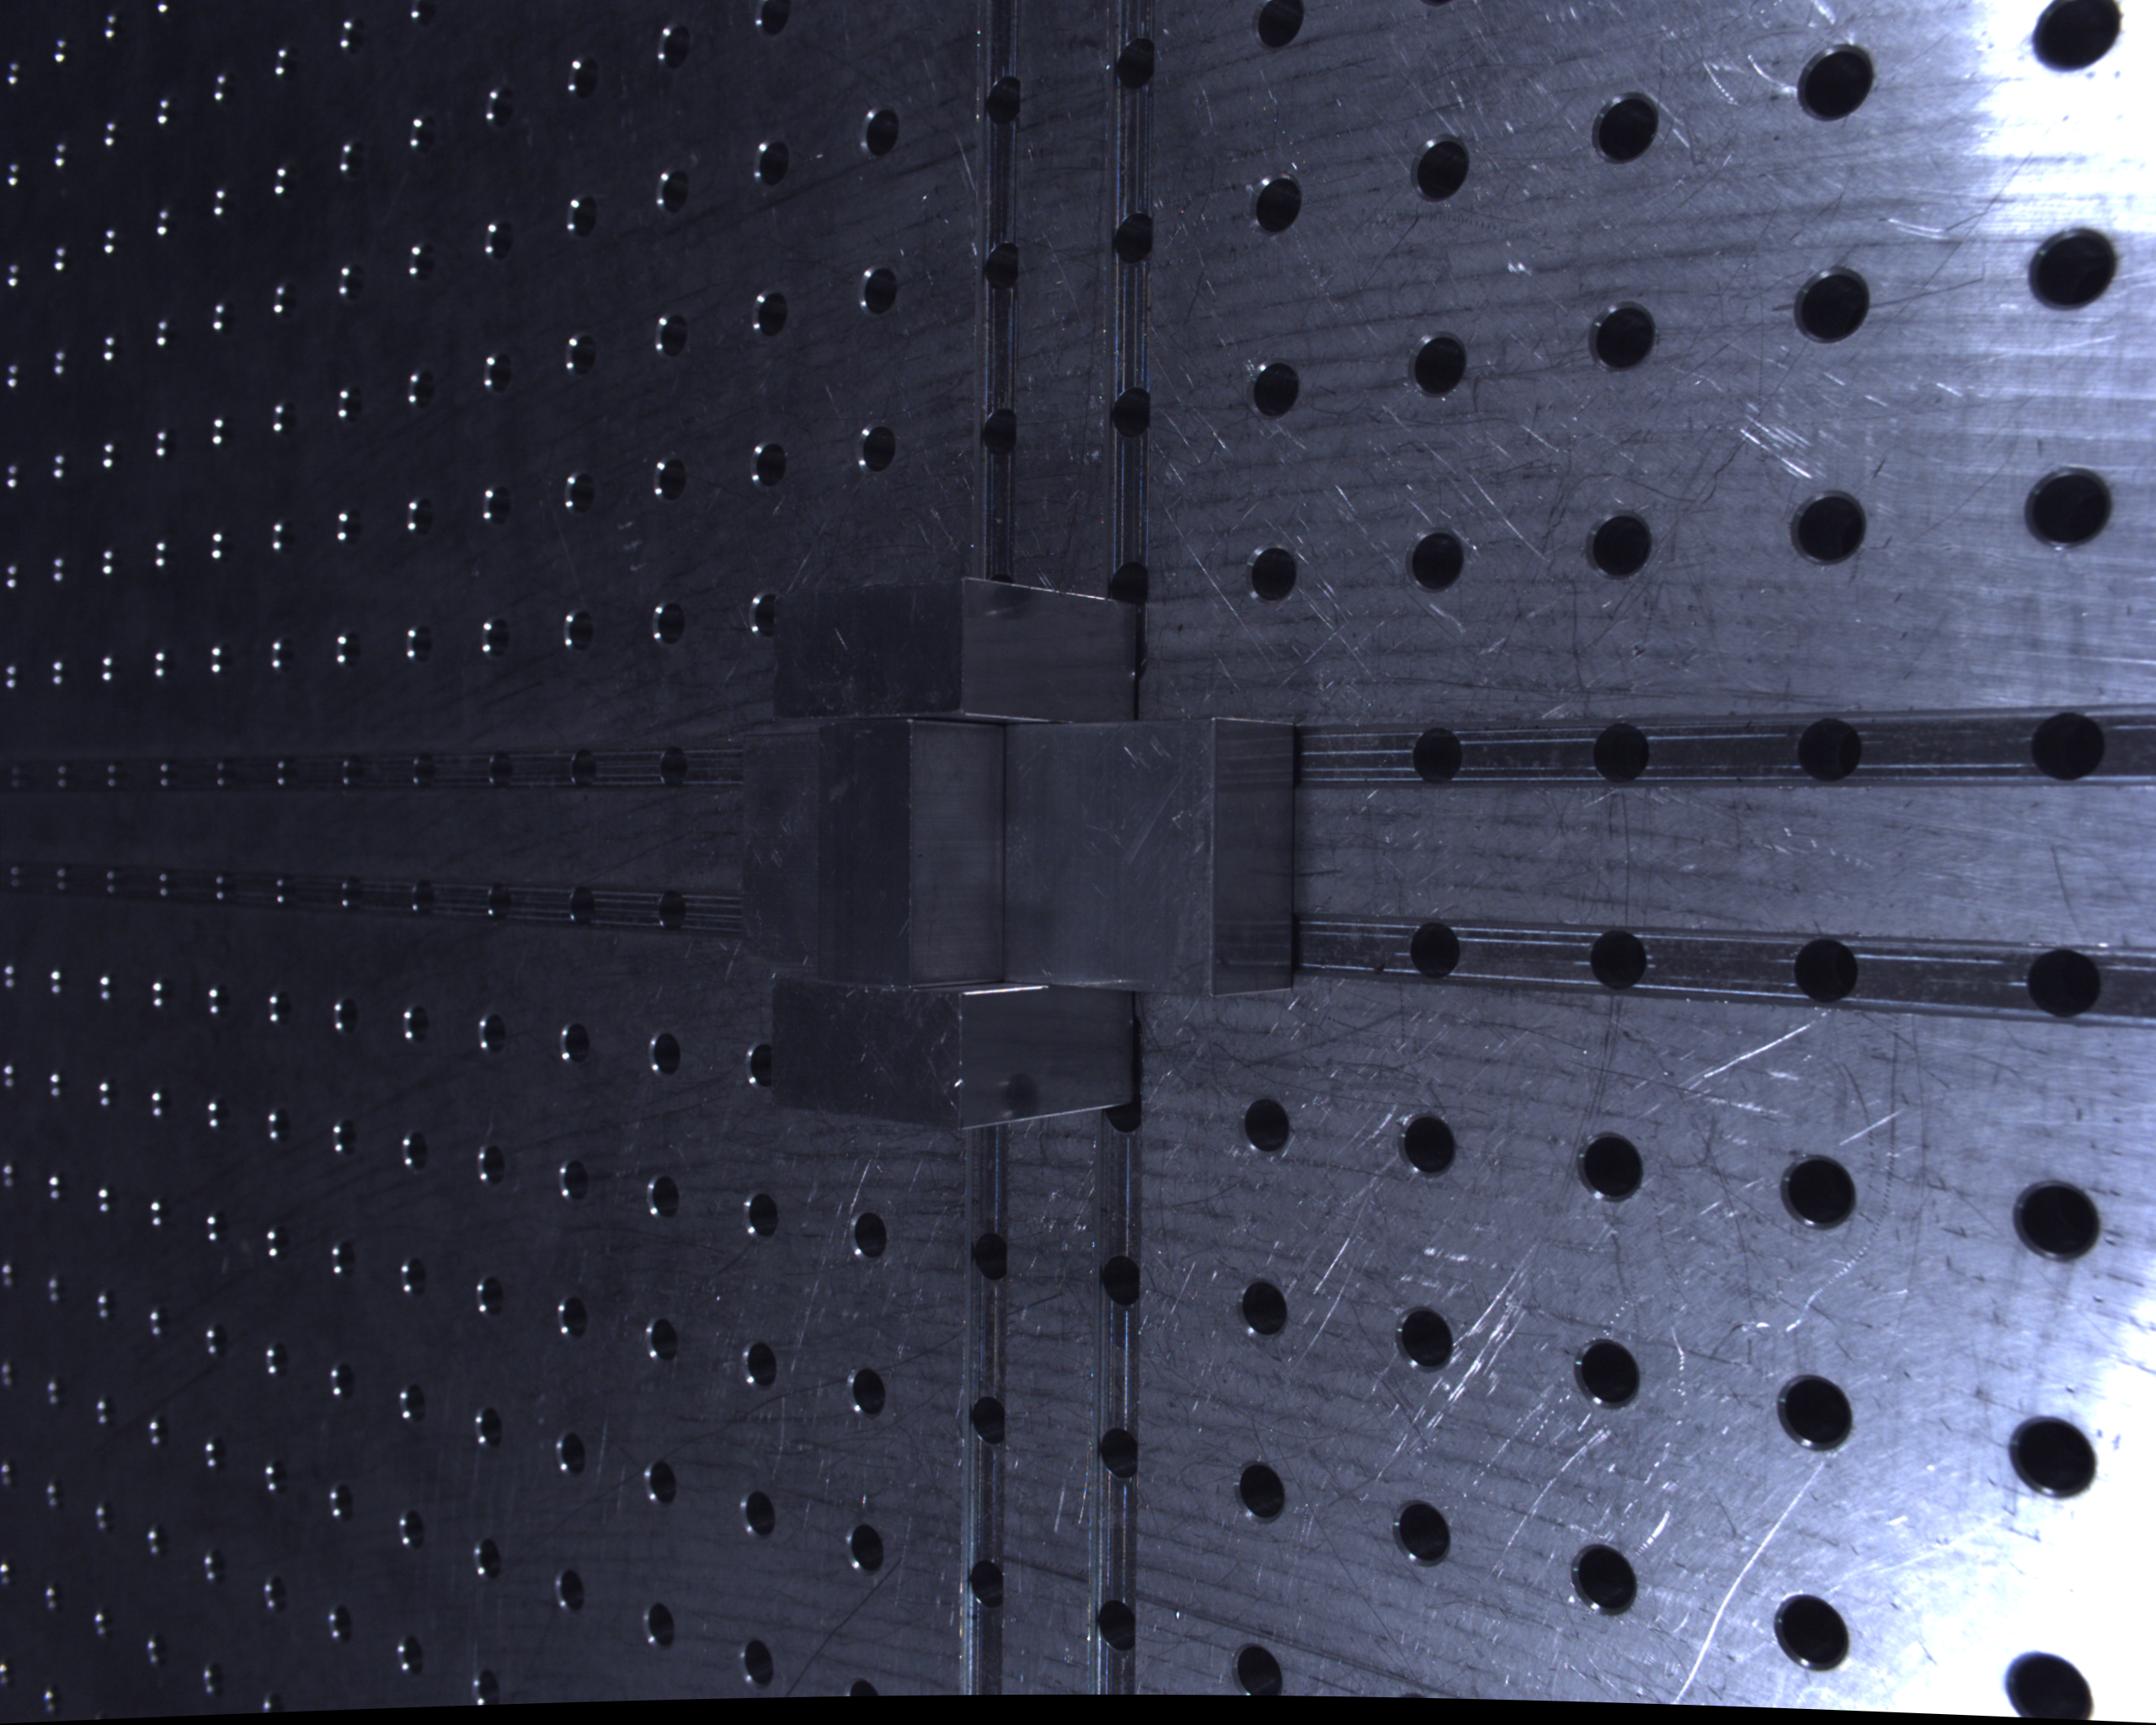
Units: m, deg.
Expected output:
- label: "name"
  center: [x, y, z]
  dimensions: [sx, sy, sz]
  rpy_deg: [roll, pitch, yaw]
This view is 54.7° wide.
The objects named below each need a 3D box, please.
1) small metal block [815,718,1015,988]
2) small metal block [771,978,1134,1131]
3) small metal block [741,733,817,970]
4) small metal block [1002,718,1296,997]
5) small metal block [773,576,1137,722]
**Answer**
- label: "small metal block"
  center: [-0.024, -0.002, 0.410]
  dimensions: [0.025, 0.050, 0.050]
  rpy_deg: [1, 91, 40]
- label: "small metal block"
  center: [-0.024, 0.035, 0.411]
  dimensions: [0.050, 0.050, 0.025]
  rpy_deg: [1, 91, 39]
- label: "small metal block"
  center: [-0.045, -0.002, 0.444]
  dimensions: [0.050, 0.025, 0.050]
  rpy_deg: [1, 91, 39]
- label: "small metal block"
  center: [0.013, -0.002, 0.396]
  dimensions: [0.050, 0.025, 0.050]
  rpy_deg: [2, 91, 39]
- label: "small metal block"
  center: [-0.024, -0.040, 0.410]
  dimensions: [0.050, 0.050, 0.025]
  rpy_deg: [1, 91, 39]
